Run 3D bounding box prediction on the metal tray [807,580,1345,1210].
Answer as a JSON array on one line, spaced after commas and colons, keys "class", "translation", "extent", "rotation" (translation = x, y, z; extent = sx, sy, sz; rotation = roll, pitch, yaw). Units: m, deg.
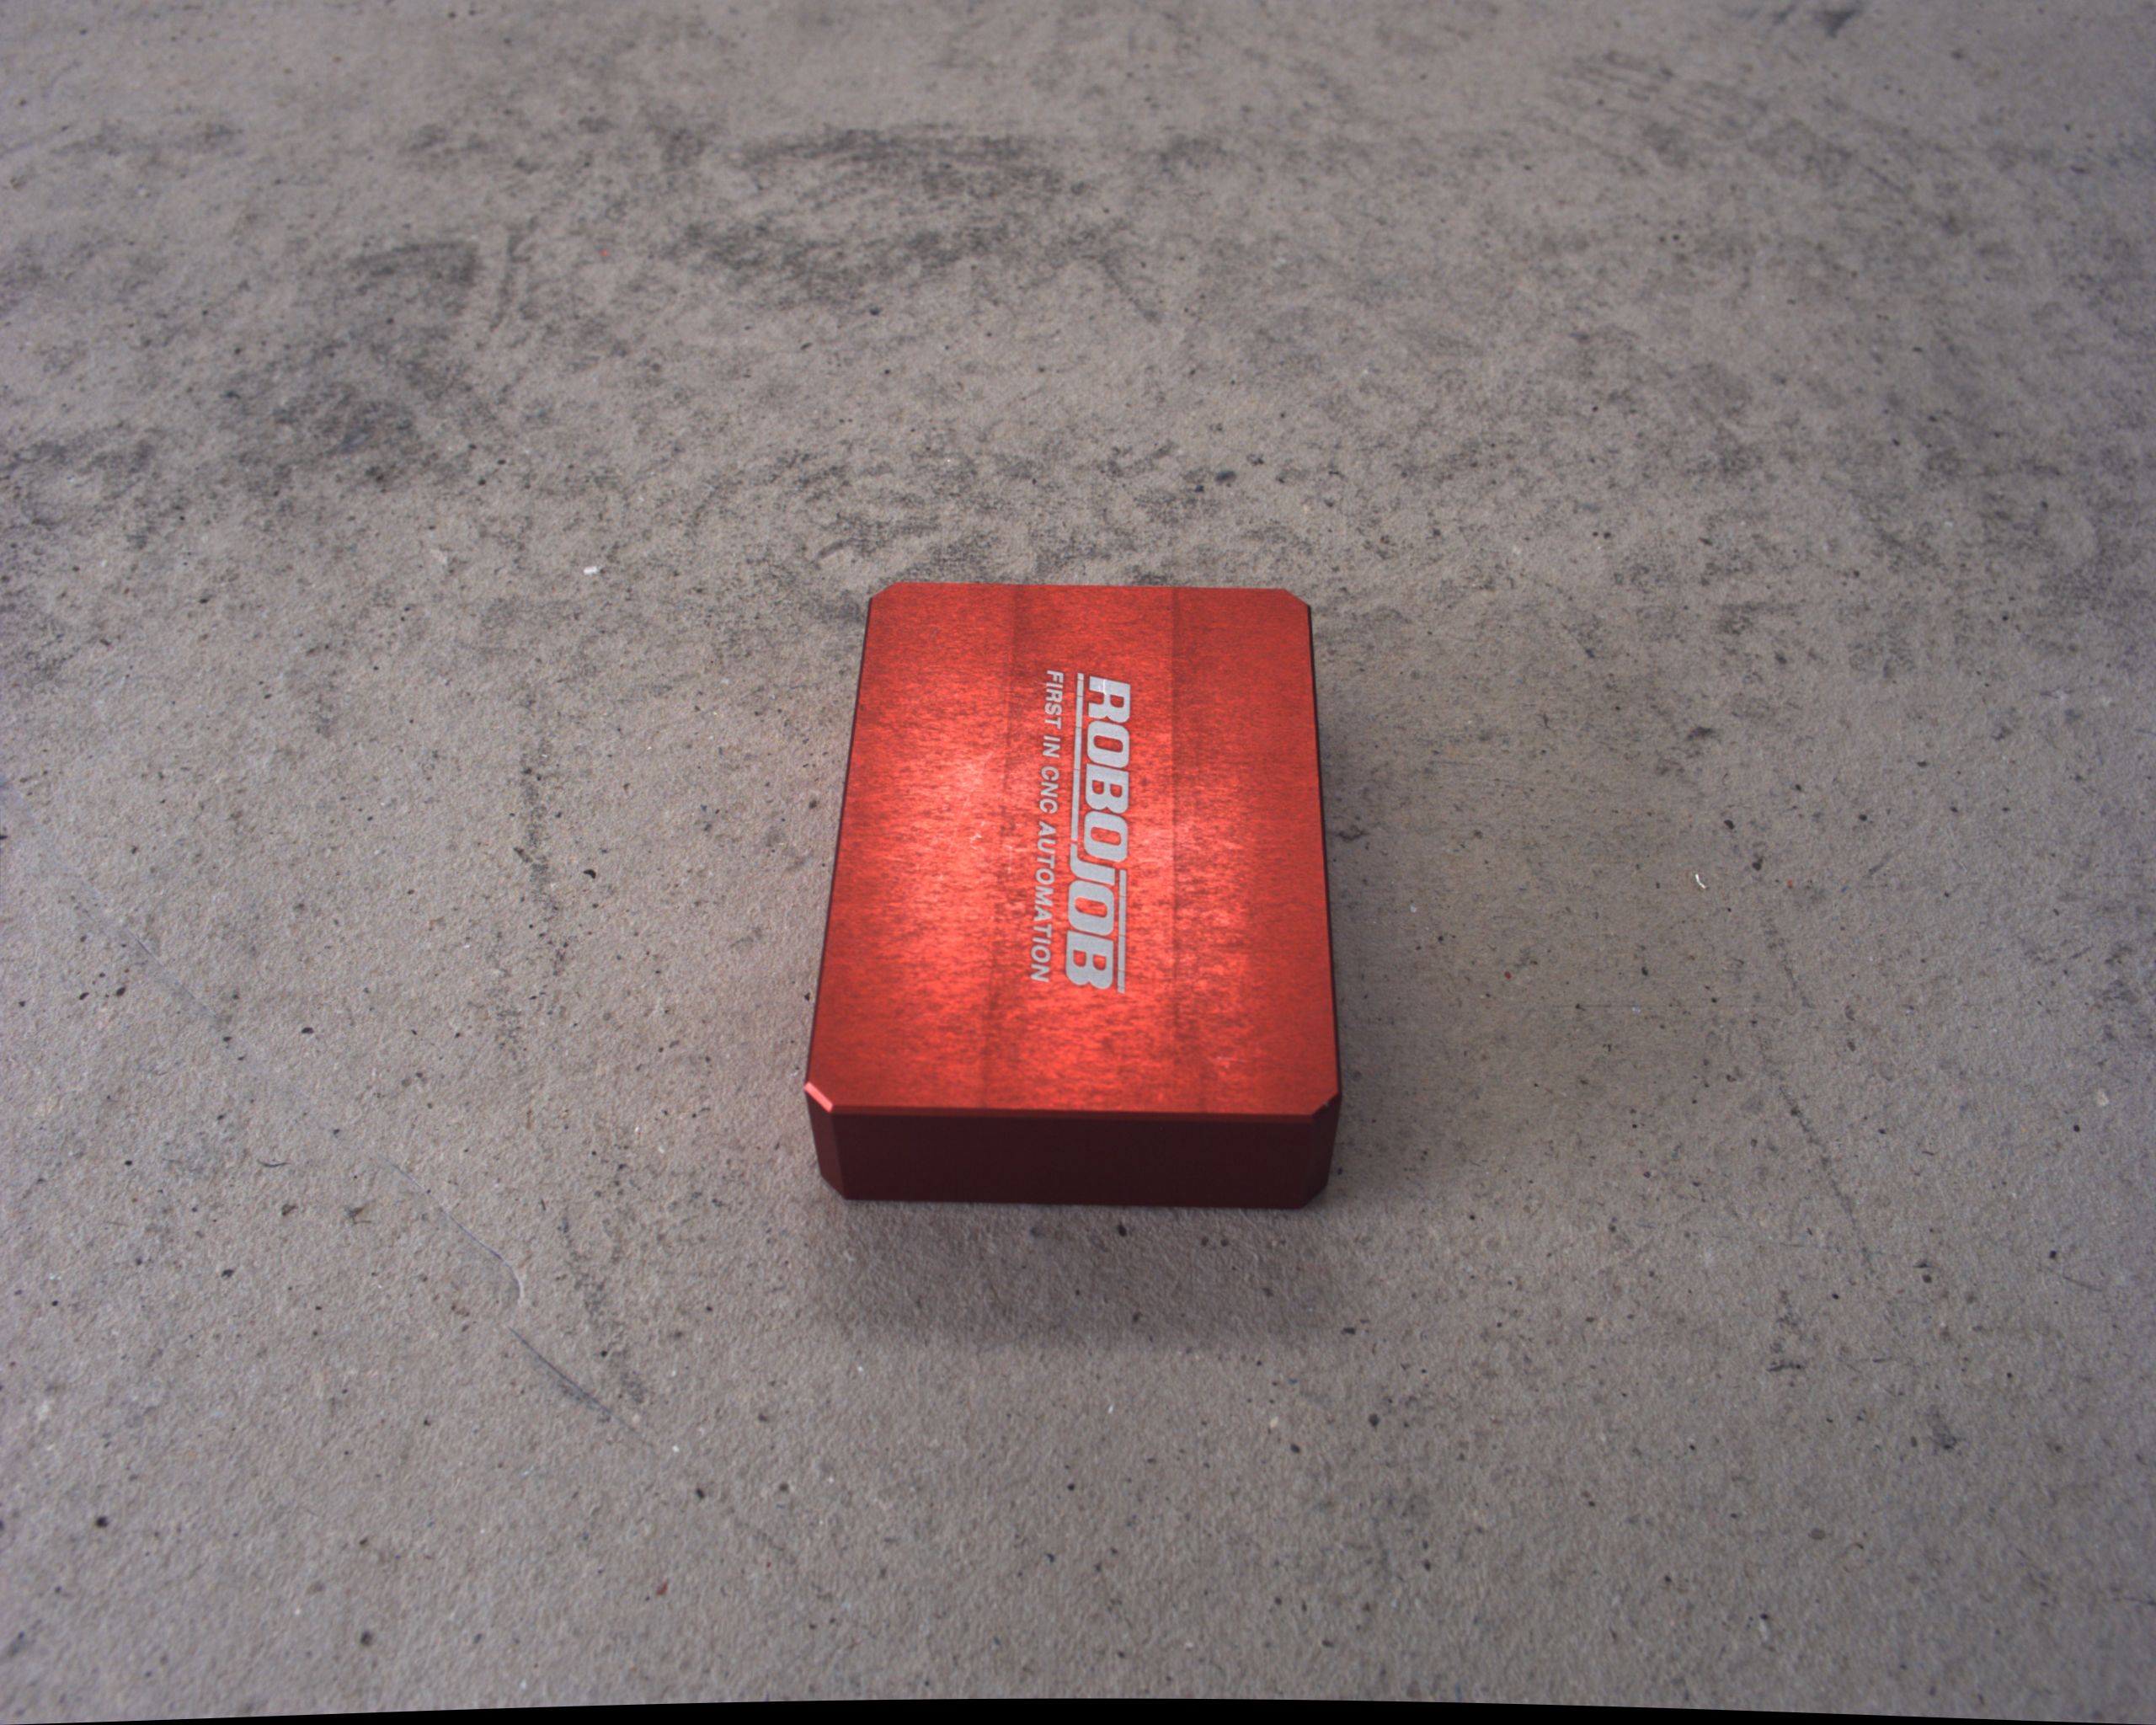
[{"class": "metal tray", "translation": [0.001, 0.002, 0.400], "extent": [0.090, 0.030, 0.130], "rotation": [1, 51, 0]}]
